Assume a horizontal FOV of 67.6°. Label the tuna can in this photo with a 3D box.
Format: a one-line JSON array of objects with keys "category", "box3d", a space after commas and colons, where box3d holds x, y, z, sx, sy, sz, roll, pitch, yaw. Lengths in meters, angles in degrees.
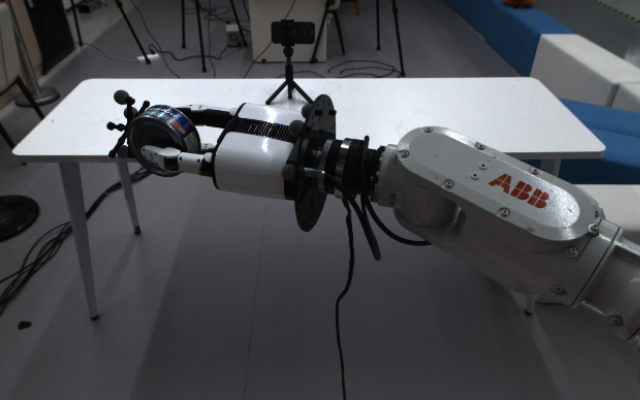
[{"category": "tuna can", "box3d": [-0.192, -0.075, 0.601, 0.085, 0.085, 0.034, 10, 36, 11]}]
